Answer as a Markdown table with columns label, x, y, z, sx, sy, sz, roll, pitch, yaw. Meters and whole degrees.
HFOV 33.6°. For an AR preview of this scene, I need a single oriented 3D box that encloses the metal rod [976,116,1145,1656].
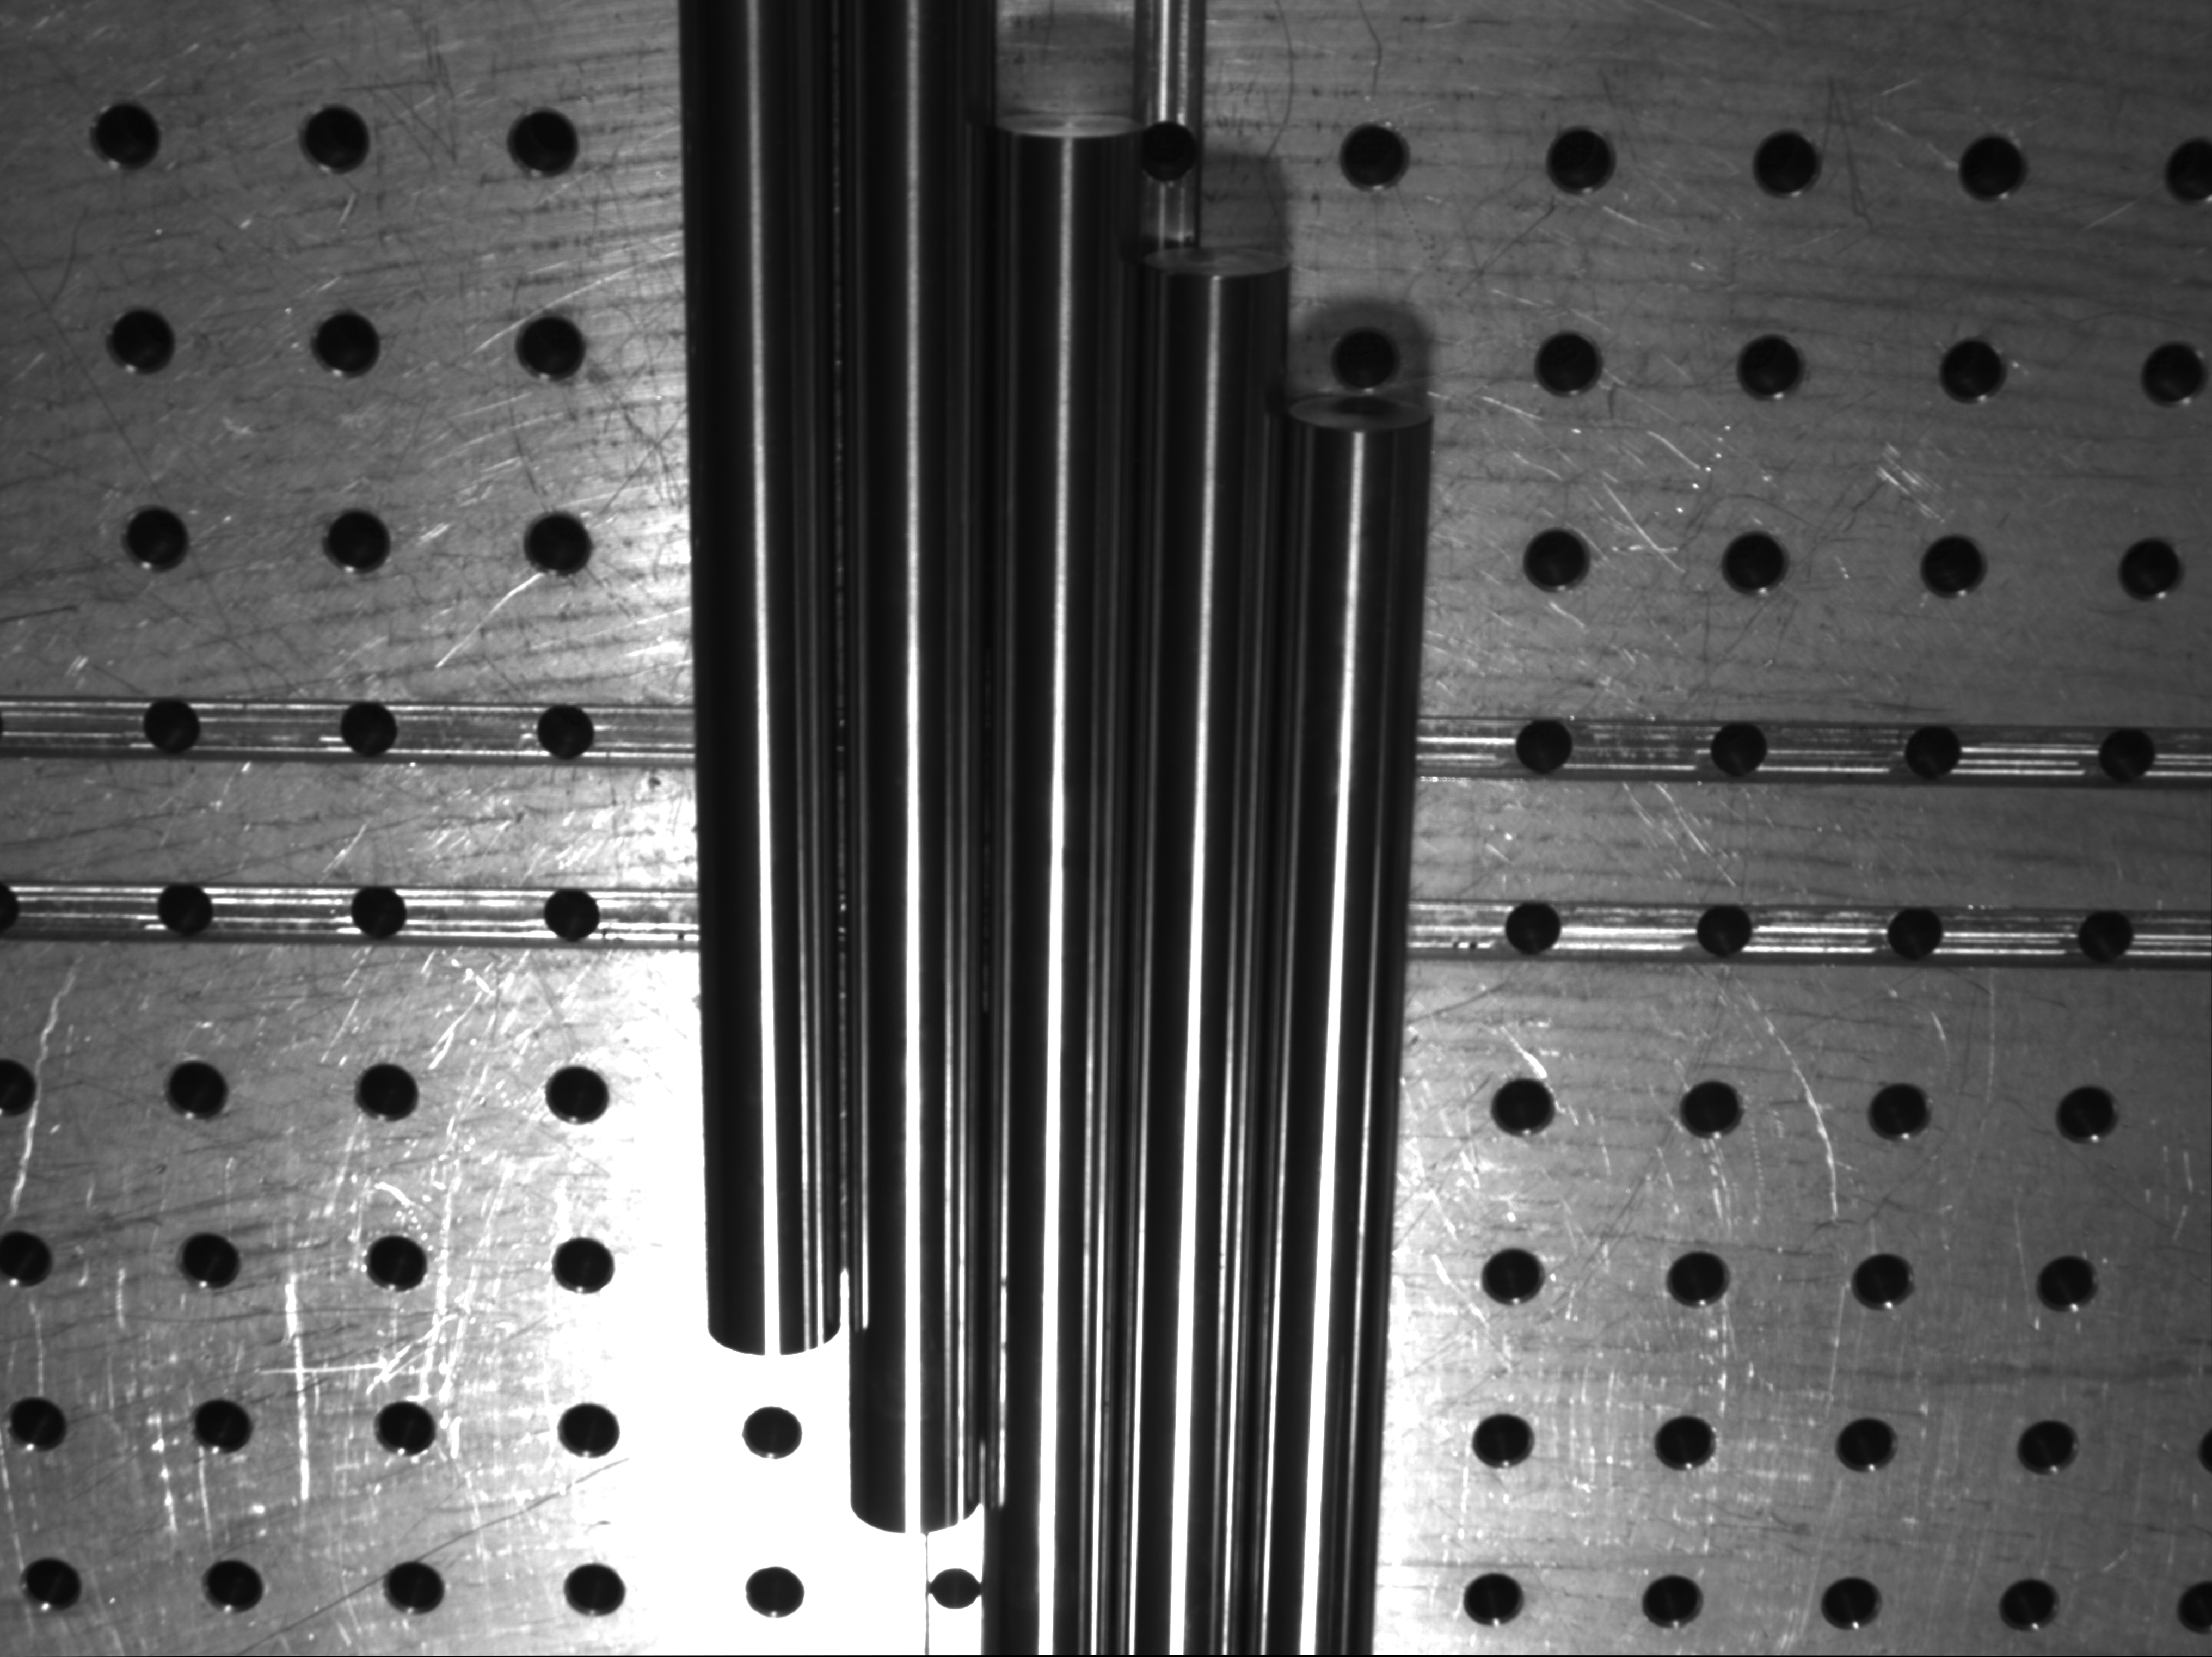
| label | x | y | z | sx | sy | sz | roll | pitch | yaw |
| --- | --- | --- | --- | --- | --- | --- | --- | --- | --- |
| metal rod | -0.009 | 0.026 | 0.654 | 0.025 | 0.025 | 0.300 | 1 | 110 | -1 |

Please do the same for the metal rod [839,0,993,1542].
| label | x | y | z | sx | sy | sz | roll | pitch | yaw |
| --- | --- | --- | --- | --- | --- | --- | --- | --- | --- |
| metal rod | -0.034 | -0.013 | 0.639 | 0.025 | 0.025 | 0.300 | 1 | 110 | -1 |

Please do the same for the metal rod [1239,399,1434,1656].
| label | x | y | z | sx | sy | sz | roll | pitch | yaw |
| --- | --- | --- | --- | --- | --- | --- | --- | --- | --- |
| metal rod | 0.040 | 0.071 | 0.671 | 0.025 | 0.025 | 0.300 | 1 | 110 | -1 |

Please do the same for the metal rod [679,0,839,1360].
| label | x | y | z | sx | sy | sz | roll | pitch | yaw |
| --- | --- | --- | --- | --- | --- | --- | --- | --- | --- |
| metal rod | -0.059 | -0.049 | 0.627 | 0.025 | 0.025 | 0.300 | 1 | 110 | -1 |

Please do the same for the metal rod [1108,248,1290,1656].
| label | x | y | z | sx | sy | sz | roll | pitch | yaw |
| --- | --- | --- | --- | --- | --- | --- | --- | --- | --- |
| metal rod | 0.015 | 0.047 | 0.662 | 0.025 | 0.025 | 0.300 | 1 | 110 | -1 |
